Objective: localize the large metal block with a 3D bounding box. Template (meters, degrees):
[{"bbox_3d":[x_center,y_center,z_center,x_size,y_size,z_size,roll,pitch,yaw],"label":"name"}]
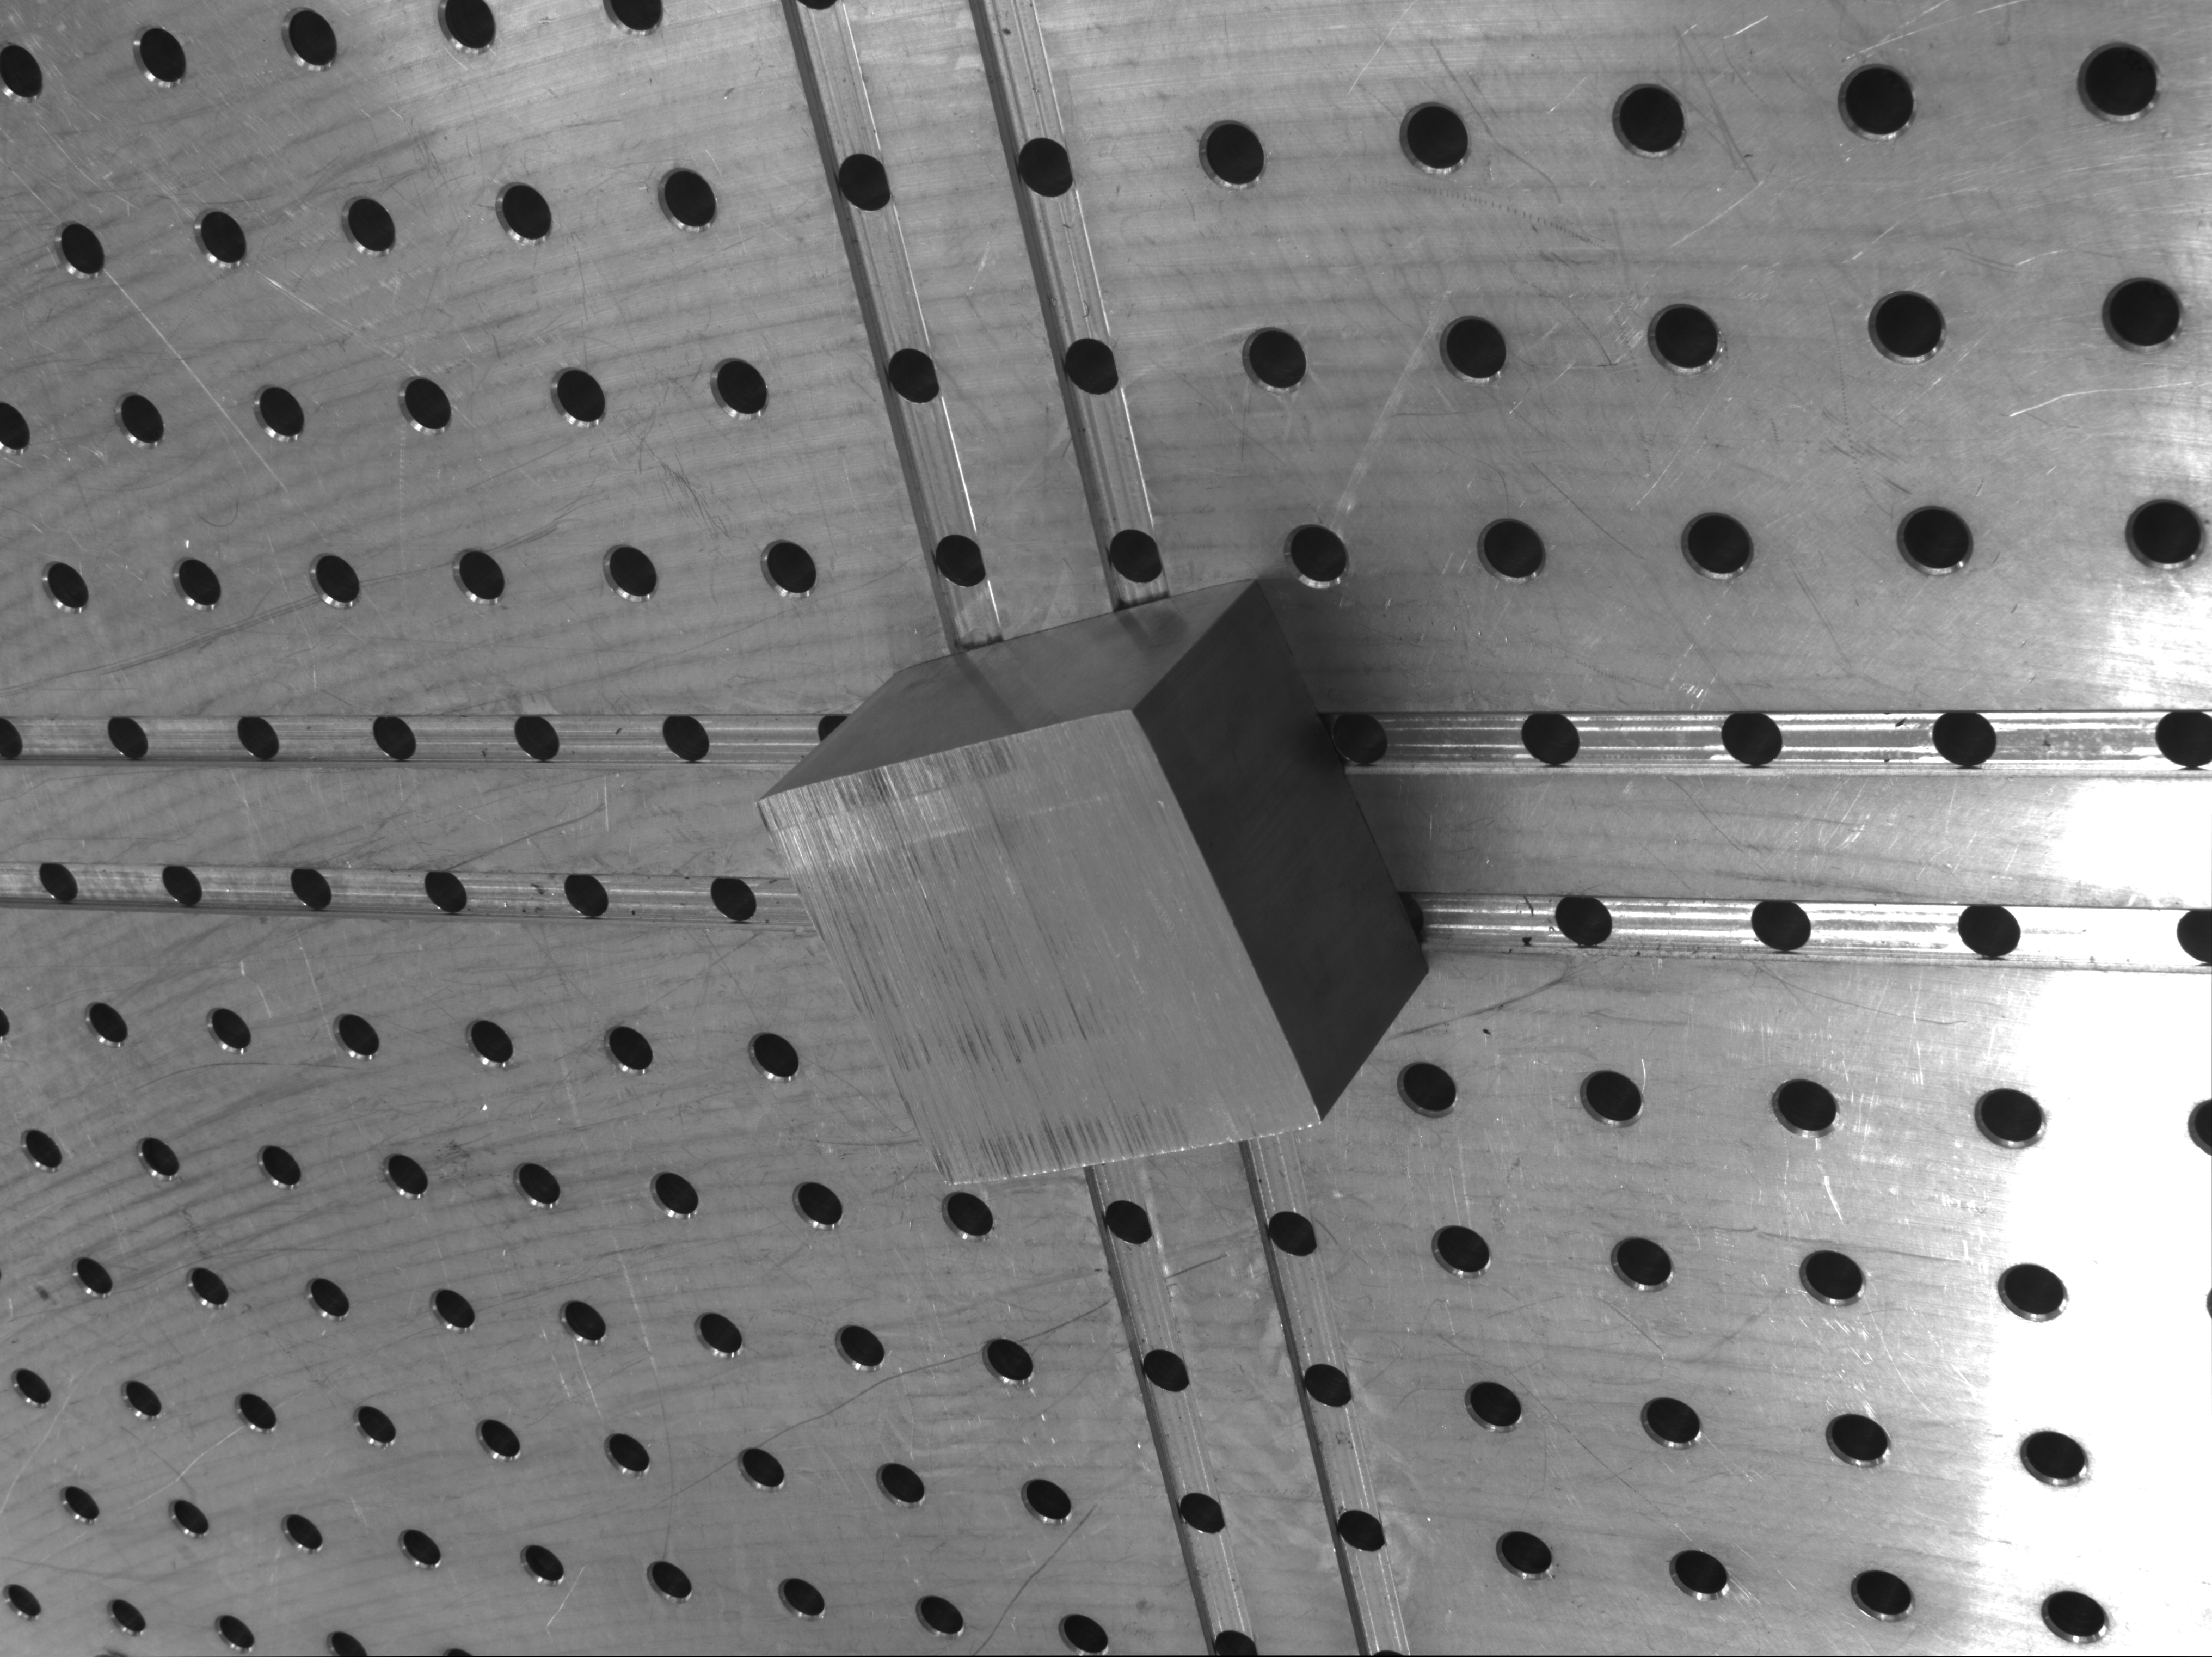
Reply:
[{"bbox_3d":[-0.002,0.011,0.637,0.080,0.050,0.080,-13,112,34],"label":"large metal block"}]
